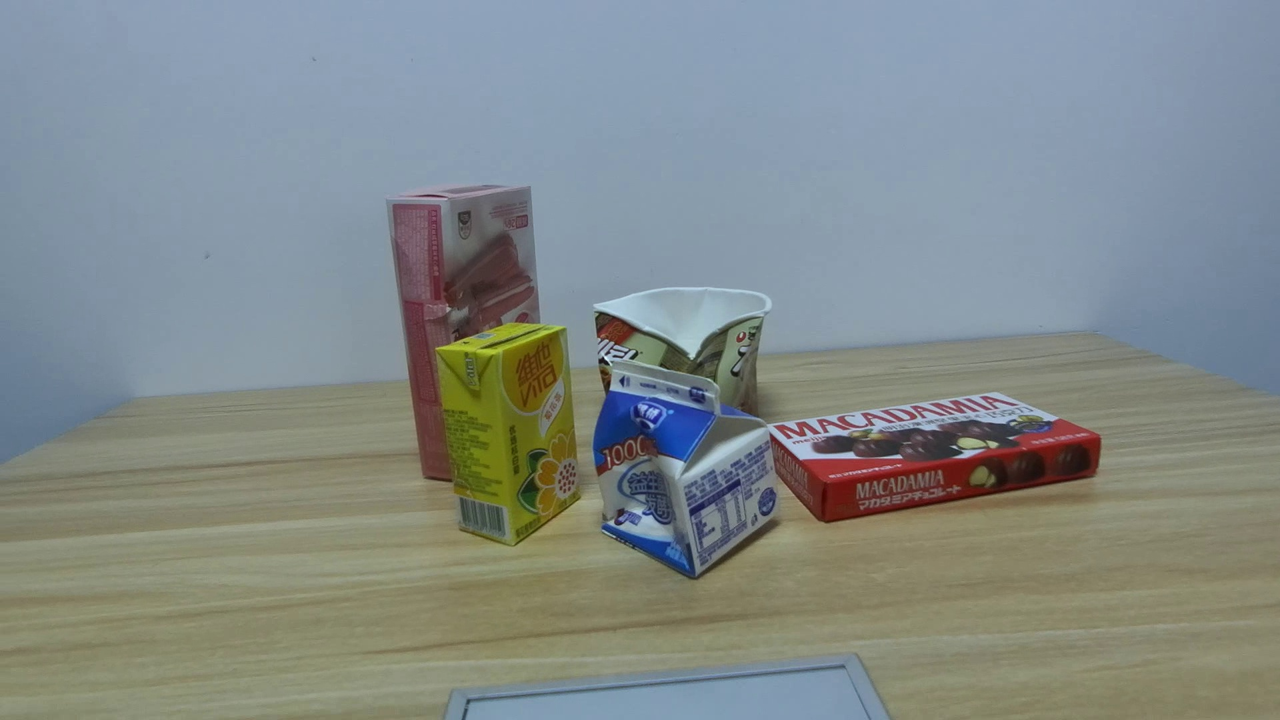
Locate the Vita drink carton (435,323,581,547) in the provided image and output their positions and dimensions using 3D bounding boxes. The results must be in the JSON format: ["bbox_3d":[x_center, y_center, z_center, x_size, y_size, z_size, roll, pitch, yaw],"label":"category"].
[{"bbox_3d":[-0.072,0.039,0.403,0.043,0.109,0.067,5,18,30],"label":"Vita drink carton"}]

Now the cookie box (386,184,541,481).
[{"bbox_3d":[-0.111,-0.020,0.475,0.048,0.187,0.105,3,17,20],"label":"cookie box"}]

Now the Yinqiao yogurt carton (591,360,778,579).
[{"bbox_3d":[0.020,0.048,0.372,0.071,0.094,0.077,-23,24,-39],"label":"Yinqiao yogurt carton"}]
